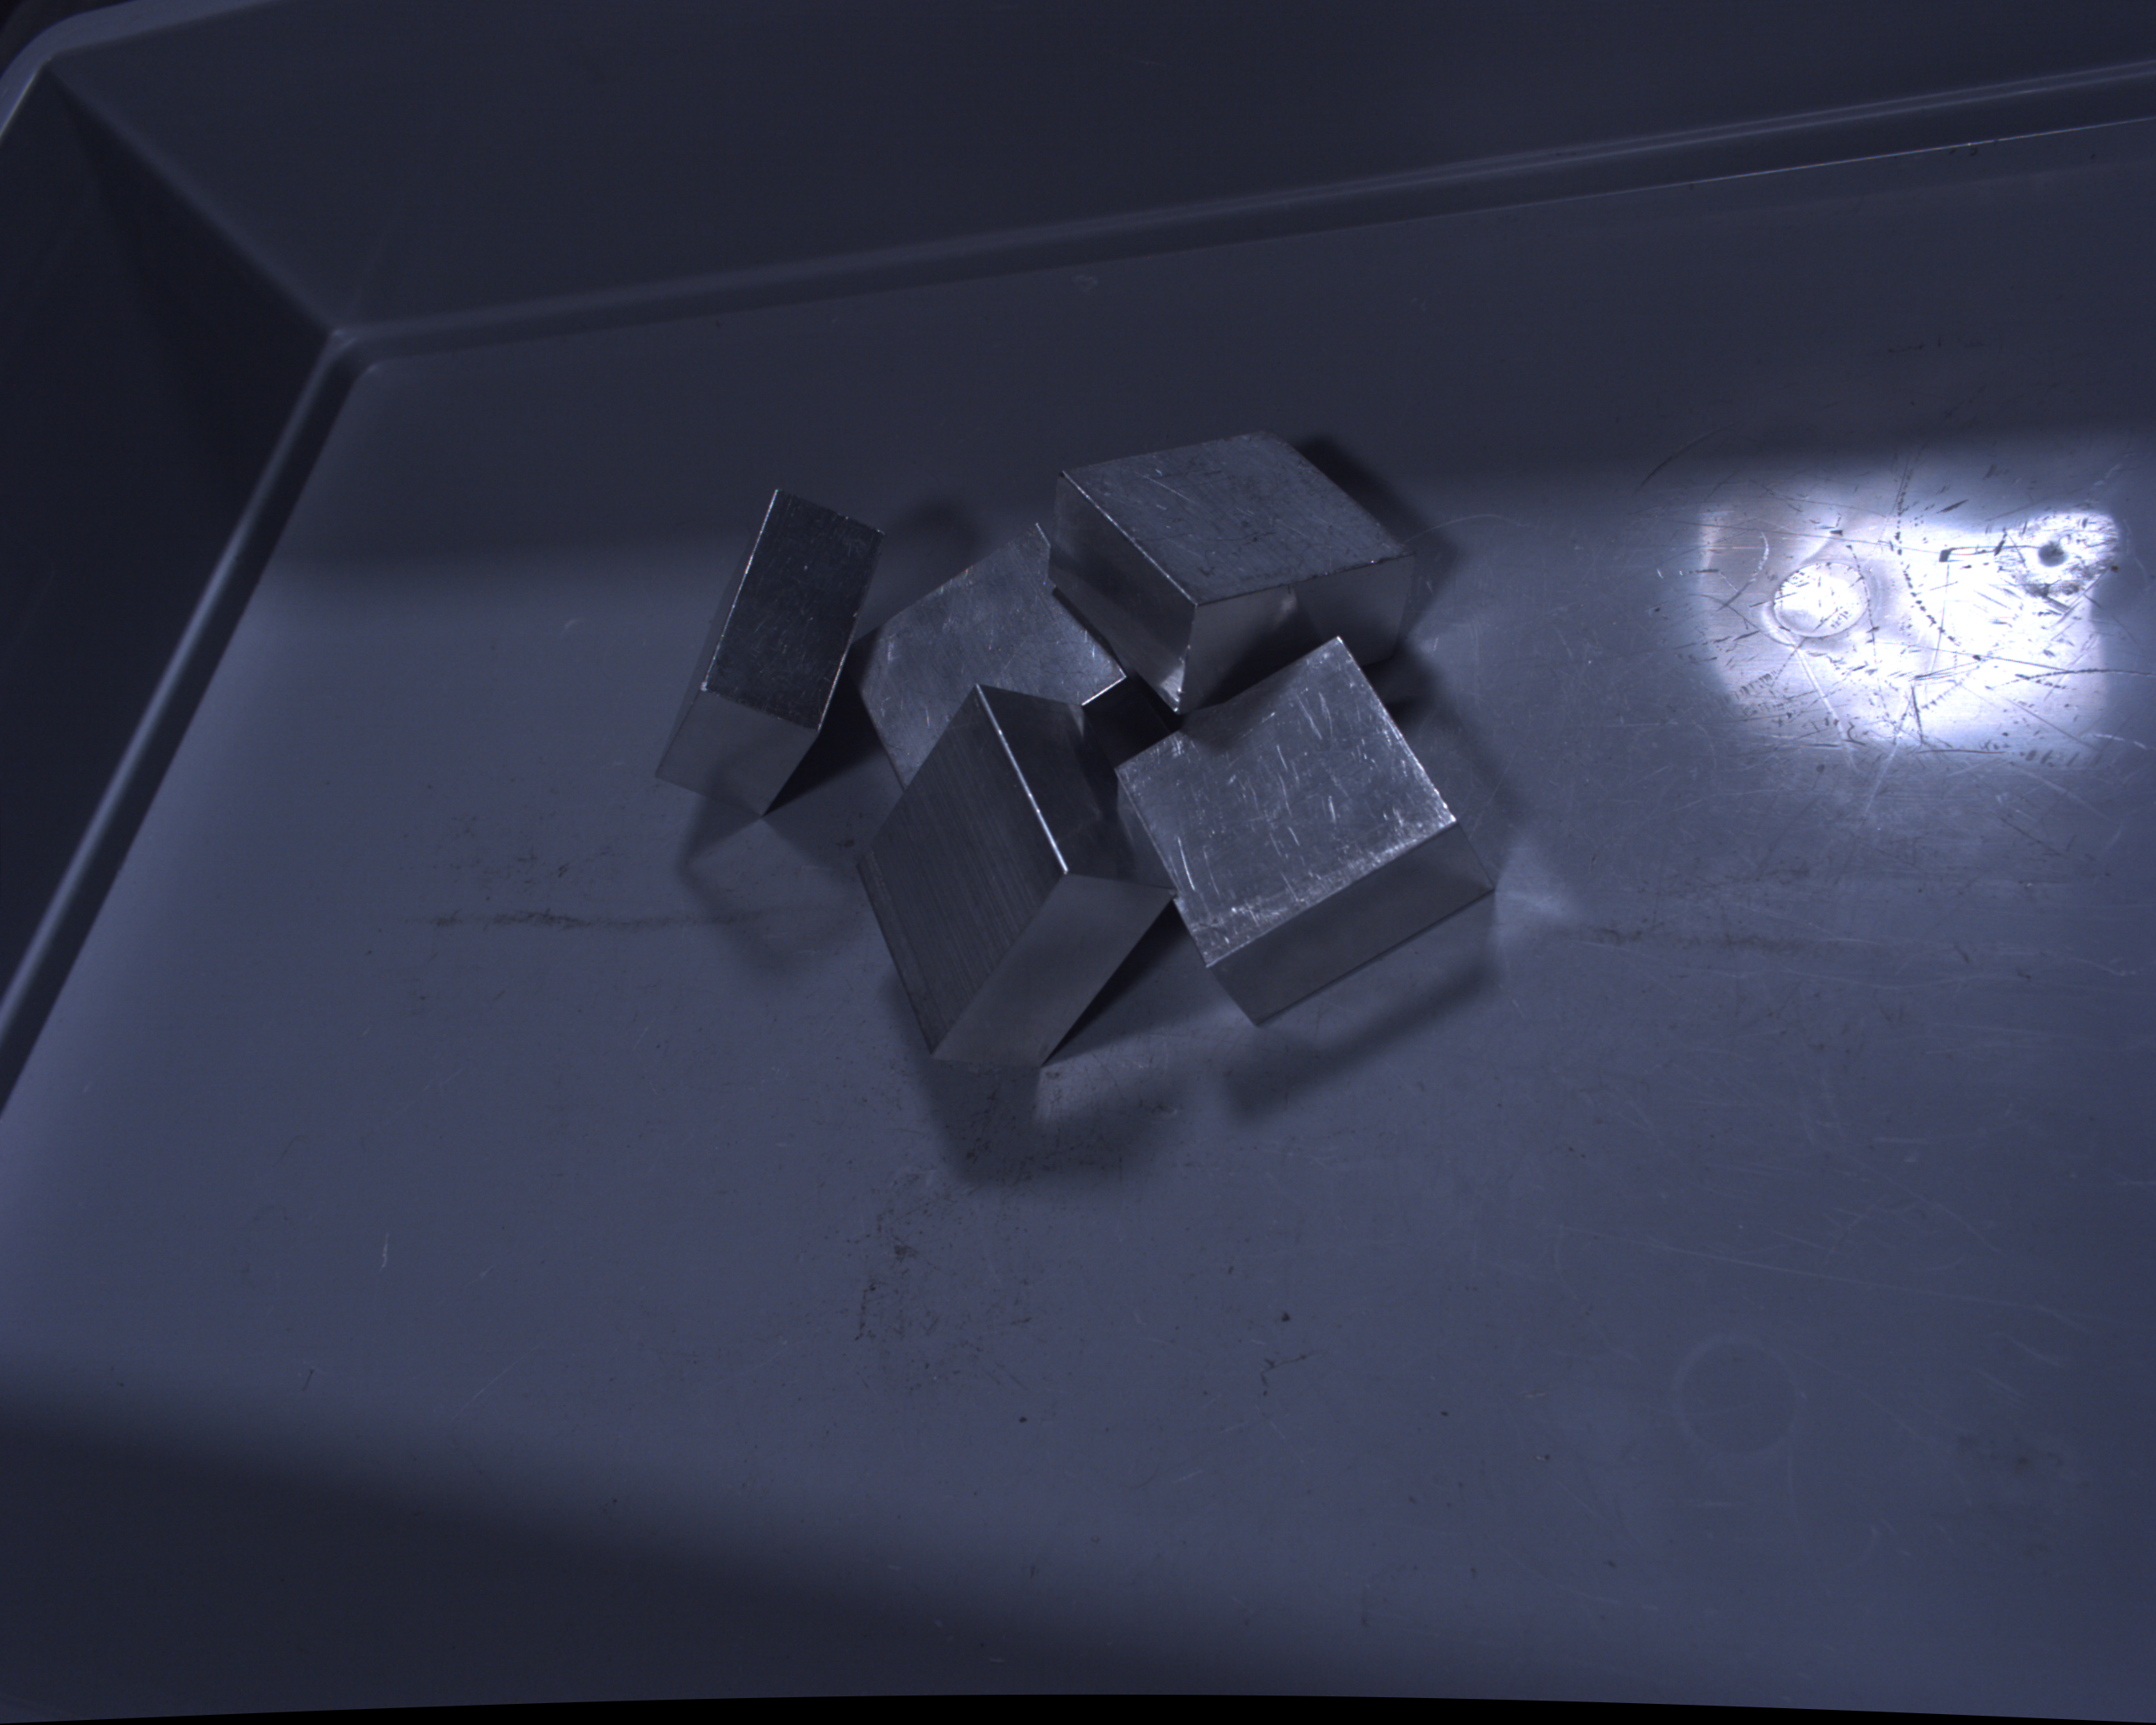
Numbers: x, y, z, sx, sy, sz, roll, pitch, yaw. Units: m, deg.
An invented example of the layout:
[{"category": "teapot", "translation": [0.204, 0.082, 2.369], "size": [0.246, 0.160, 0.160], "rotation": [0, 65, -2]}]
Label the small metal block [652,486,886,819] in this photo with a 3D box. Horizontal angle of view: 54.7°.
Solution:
[{"category": "small metal block", "translation": [-0.067, -0.044, 0.446], "size": [0.050, 0.025, 0.050], "rotation": [138, 151, -61]}]

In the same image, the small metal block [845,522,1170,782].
[{"category": "small metal block", "translation": [-0.015, -0.034, 0.431], "size": [0.050, 0.025, 0.050], "rotation": [-33, 52, 6]}]

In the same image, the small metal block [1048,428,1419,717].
[{"category": "small metal block", "translation": [0.029, -0.058, 0.408], "size": [0.050, 0.025, 0.050], "rotation": [-17, 46, -26]}]

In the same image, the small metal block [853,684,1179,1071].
[{"category": "small metal block", "translation": [-0.013, 0.003, 0.392], "size": [0.050, 0.025, 0.050], "rotation": [-54, 44, 31]}]

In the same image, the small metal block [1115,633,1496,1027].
[{"category": "small metal block", "translation": [0.041, -0.006, 0.385], "size": [0.050, 0.025, 0.050], "rotation": [-31, 52, 7]}]
